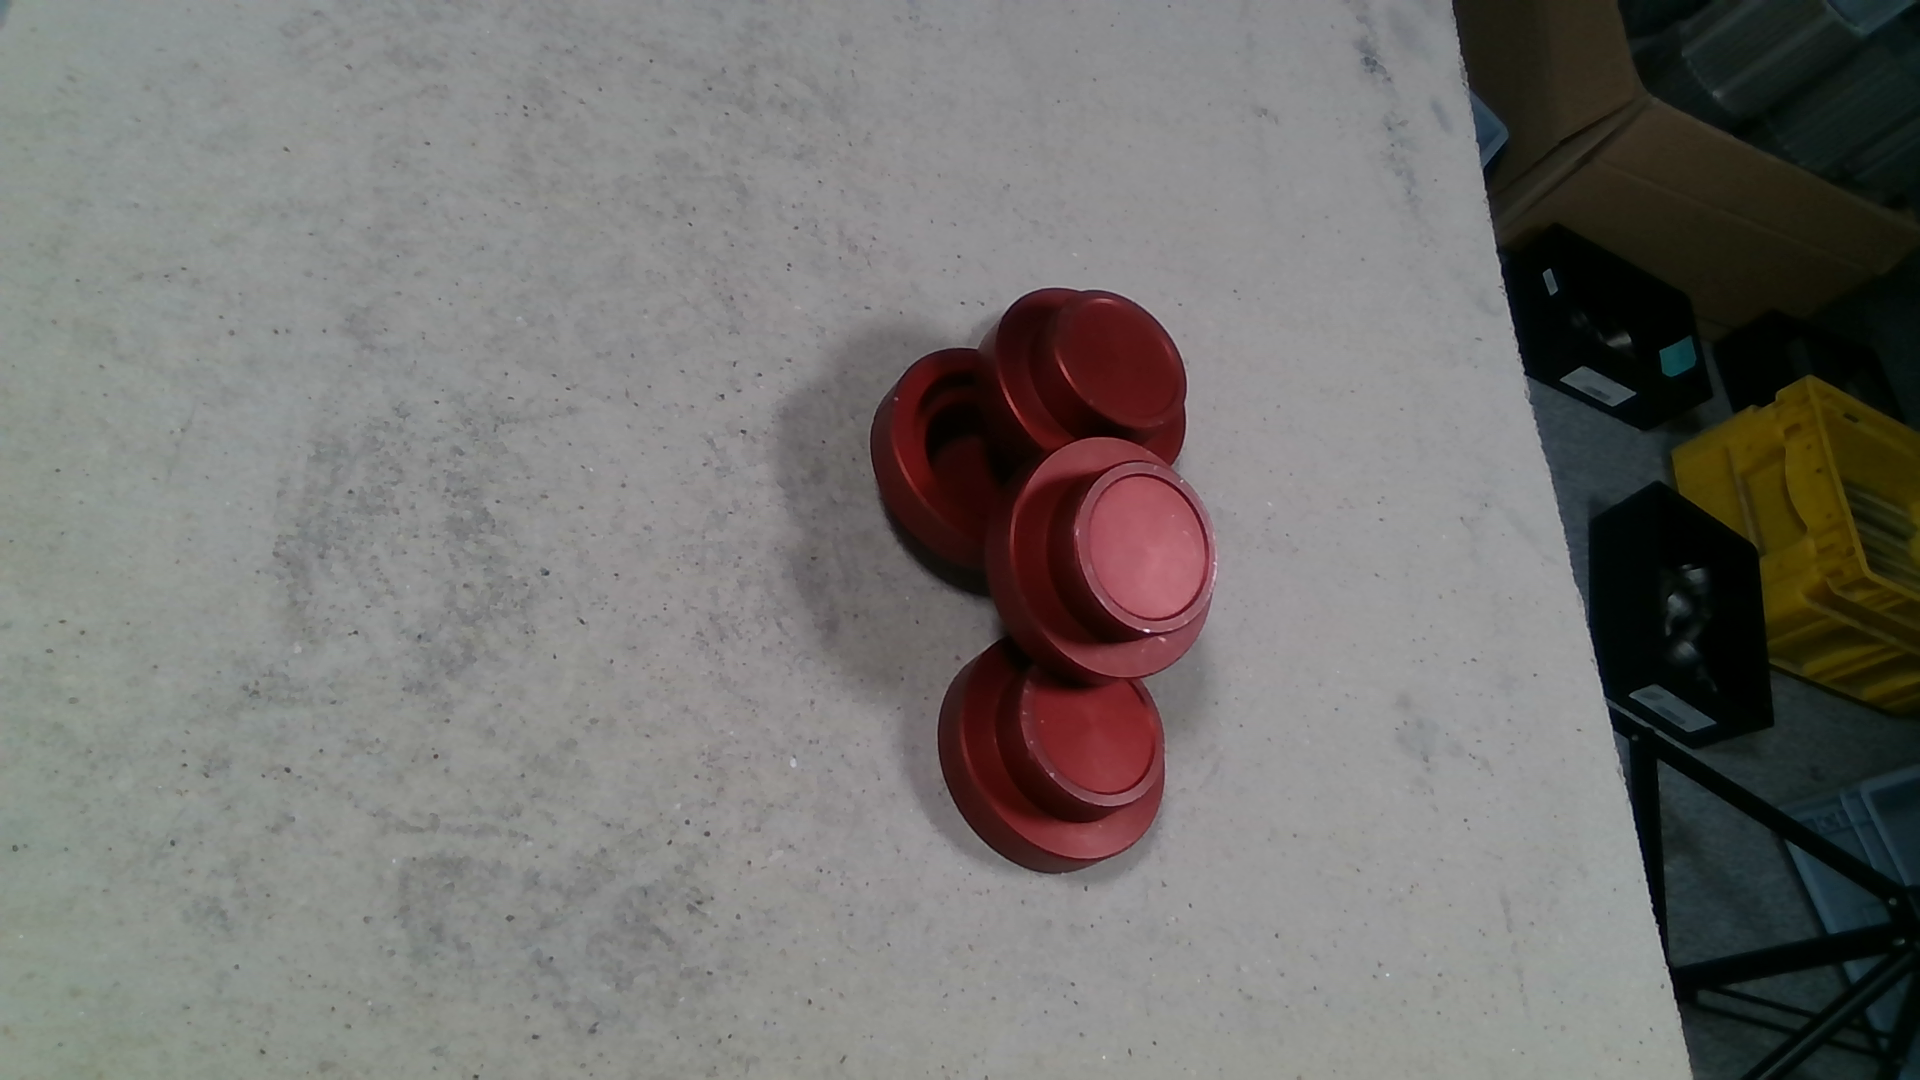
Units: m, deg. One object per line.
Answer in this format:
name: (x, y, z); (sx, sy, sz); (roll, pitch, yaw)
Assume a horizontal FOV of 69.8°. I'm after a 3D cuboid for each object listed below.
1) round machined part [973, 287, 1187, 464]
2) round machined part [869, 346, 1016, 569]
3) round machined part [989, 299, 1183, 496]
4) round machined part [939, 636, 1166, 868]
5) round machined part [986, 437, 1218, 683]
round machined part: (0.058, -0.068, 0.593); (0.098, 0.042, 0.098); (14, 59, -25)
round machined part: (0.005, -0.031, 0.595); (0.098, 0.042, 0.098); (14, 59, -25)
round machined part: (0.067, -0.074, 0.655); (0.098, 0.042, 0.098); (14, 59, -25)
round machined part: (0.044, 0.081, 0.558); (0.098, 0.042, 0.098); (14, 59, -25)
round machined part: (0.062, 0.006, 0.542); (0.098, 0.042, 0.098); (7, 75, -28)
